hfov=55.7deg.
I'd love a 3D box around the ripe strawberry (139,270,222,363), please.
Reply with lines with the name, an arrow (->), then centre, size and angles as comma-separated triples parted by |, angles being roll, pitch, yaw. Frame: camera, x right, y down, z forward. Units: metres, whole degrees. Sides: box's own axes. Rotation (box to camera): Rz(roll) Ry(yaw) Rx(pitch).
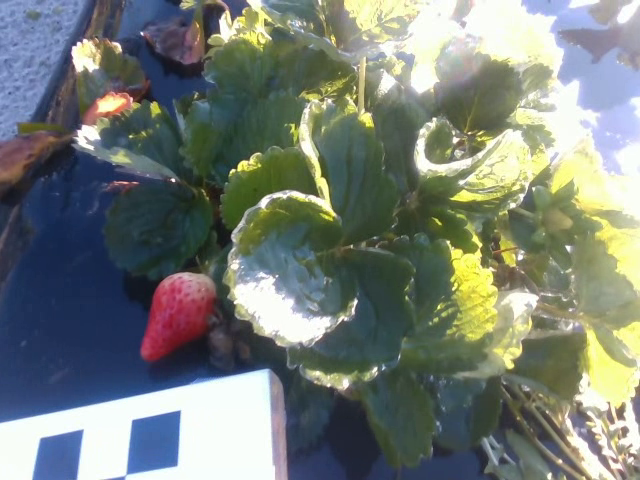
ripe strawberry -> -0.091, 0.042, 0.359 | 0.040, 0.065, 0.040 | 27, -20, 28
